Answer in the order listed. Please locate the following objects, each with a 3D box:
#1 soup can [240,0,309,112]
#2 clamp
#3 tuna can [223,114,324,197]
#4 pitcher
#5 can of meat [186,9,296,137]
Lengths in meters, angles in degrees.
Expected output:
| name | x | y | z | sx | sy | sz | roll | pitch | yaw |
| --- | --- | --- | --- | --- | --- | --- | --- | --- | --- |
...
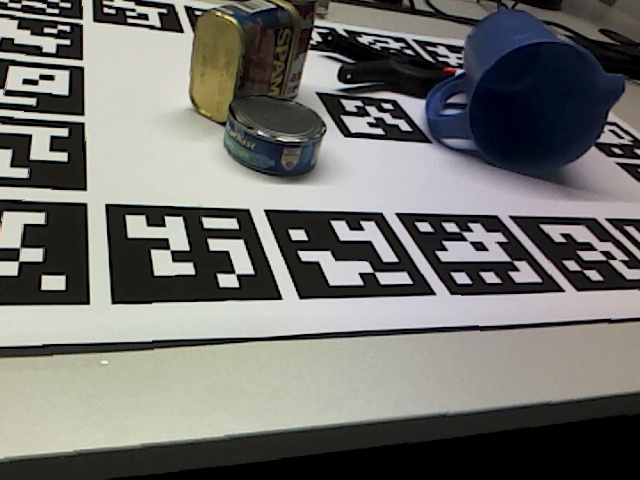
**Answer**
| name | x | y | z | sx | sy | sz | roll | pitch | yaw |
| --- | --- | --- | --- | --- | --- | --- | --- | --- | --- |
| soup can | -0.054 | -0.193 | 0.647 | 0.068 | 0.102 | 0.068 | 9 | 38 | -7 |
| clamp | 0.063 | -0.199 | 0.772 | 0.164 | 0.036 | 0.122 | 4 | 33 | -23 |
| tuna can | -0.042 | -0.075 | 0.546 | 0.085 | 0.034 | 0.086 | 11 | 37 | -9 |
| pitcher | 0.215 | -0.179 | 0.698 | 0.189 | 0.133 | 0.243 | -6 | 28 | 7 |
| can of meat | -0.075 | -0.154 | 0.577 | 0.058 | 0.102 | 0.083 | 33 | 42 | 20 |
